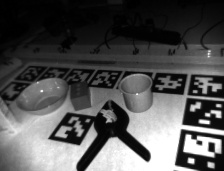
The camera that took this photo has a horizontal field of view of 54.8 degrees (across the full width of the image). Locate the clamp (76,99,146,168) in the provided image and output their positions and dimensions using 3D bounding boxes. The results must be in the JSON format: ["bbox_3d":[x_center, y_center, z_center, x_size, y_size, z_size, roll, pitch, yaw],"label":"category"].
[{"bbox_3d":[-0.009,0.102,0.558,0.165,0.037,0.201,-13,40,5],"label":"clamp"}]

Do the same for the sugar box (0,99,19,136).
[{"bbox_3d":[-0.344,0.072,0.593,0.093,0.178,0.045,-13,41,1],"label":"sugar box"}]

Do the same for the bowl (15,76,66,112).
[{"bbox_3d":[-0.220,0.034,0.696,0.161,0.055,0.161,-7,40,7],"label":"bowl"}]

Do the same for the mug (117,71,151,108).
[{"bbox_3d":[0.058,0.006,0.621,0.115,0.082,0.094,29,56,36],"label":"mug"}]

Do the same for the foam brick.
[{"bbox_3d":[-0.102,0.029,0.678,0.053,0.052,0.077,-15,40,2],"label":"foam brick"}]
